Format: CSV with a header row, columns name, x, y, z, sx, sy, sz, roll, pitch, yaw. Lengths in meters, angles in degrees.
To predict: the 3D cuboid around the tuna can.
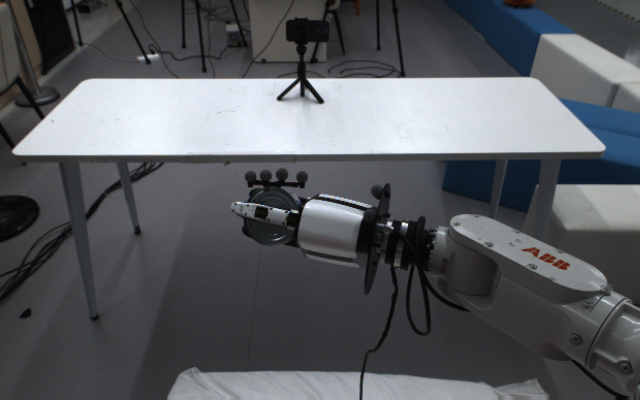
name,x,y,z,sx,sy,sz,roll,pitch,yaw
tuna can,-0.066,0.023,0.707,0.085,0.085,0.034,13,-2,15
